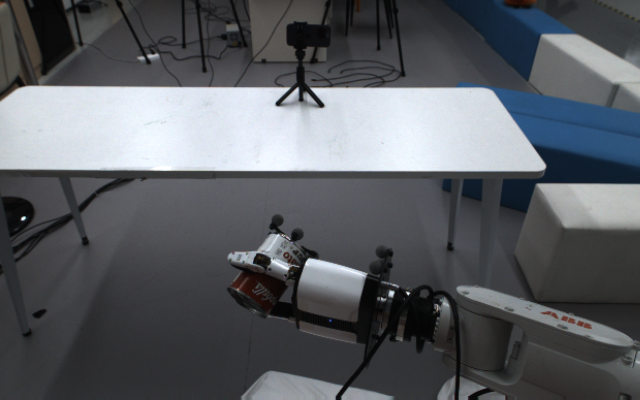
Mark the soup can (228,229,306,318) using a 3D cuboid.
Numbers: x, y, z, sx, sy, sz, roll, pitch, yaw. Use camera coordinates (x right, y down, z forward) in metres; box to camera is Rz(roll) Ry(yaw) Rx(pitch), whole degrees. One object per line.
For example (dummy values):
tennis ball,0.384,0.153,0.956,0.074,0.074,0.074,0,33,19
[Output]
soup can,-0.071,0.103,0.672,0.067,0.067,0.101,22,60,26
